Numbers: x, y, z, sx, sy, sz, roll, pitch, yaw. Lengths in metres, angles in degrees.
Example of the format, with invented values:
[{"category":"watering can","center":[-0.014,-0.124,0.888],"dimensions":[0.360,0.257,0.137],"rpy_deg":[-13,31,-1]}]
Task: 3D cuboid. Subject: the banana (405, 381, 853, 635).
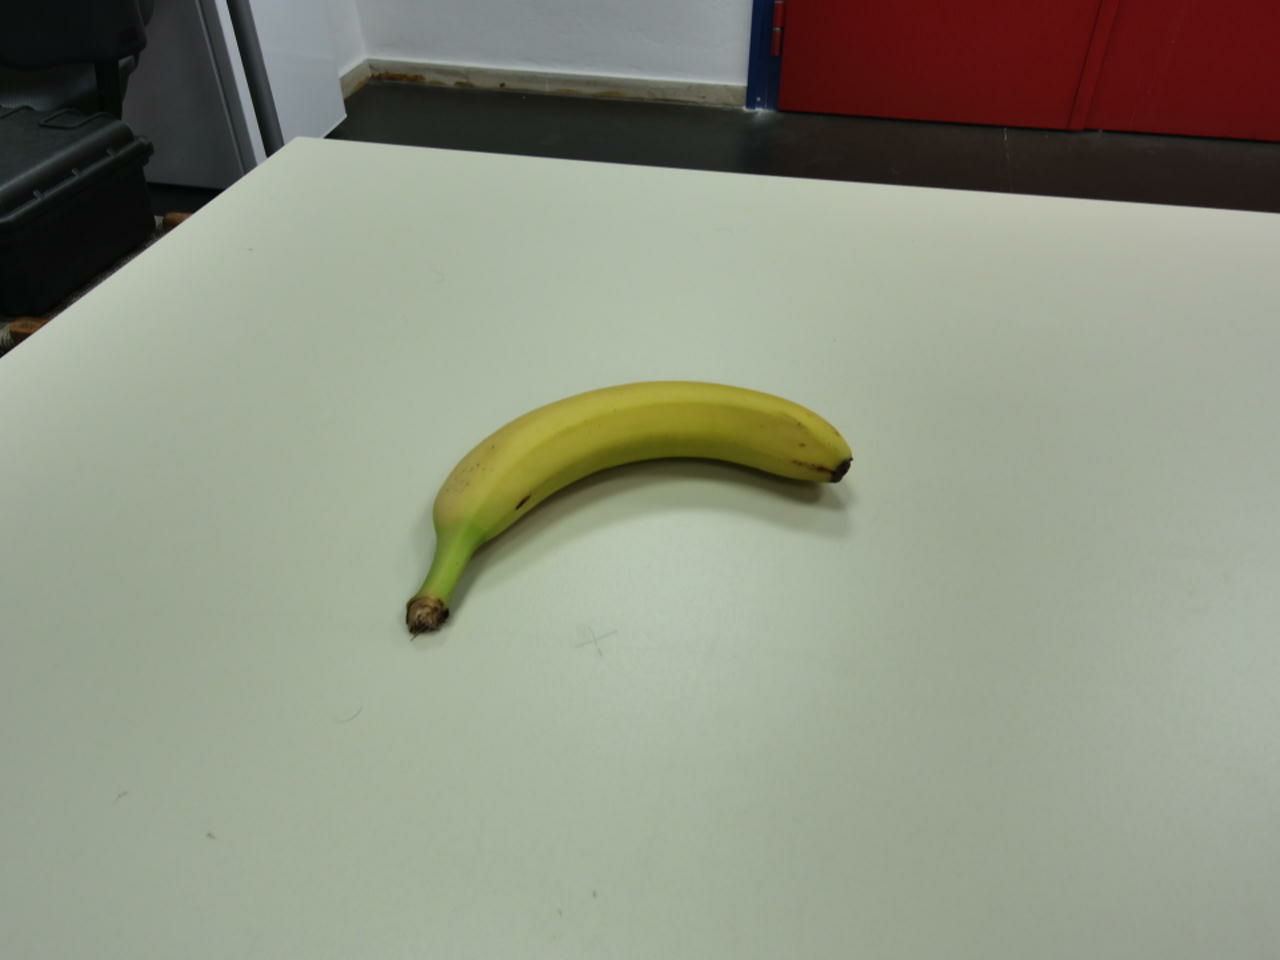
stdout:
[{"category":"banana","center":[-0.014,-0.005,0.430],"dimensions":[0.196,0.041,0.094],"rpy_deg":[-14,40,-17]}]
